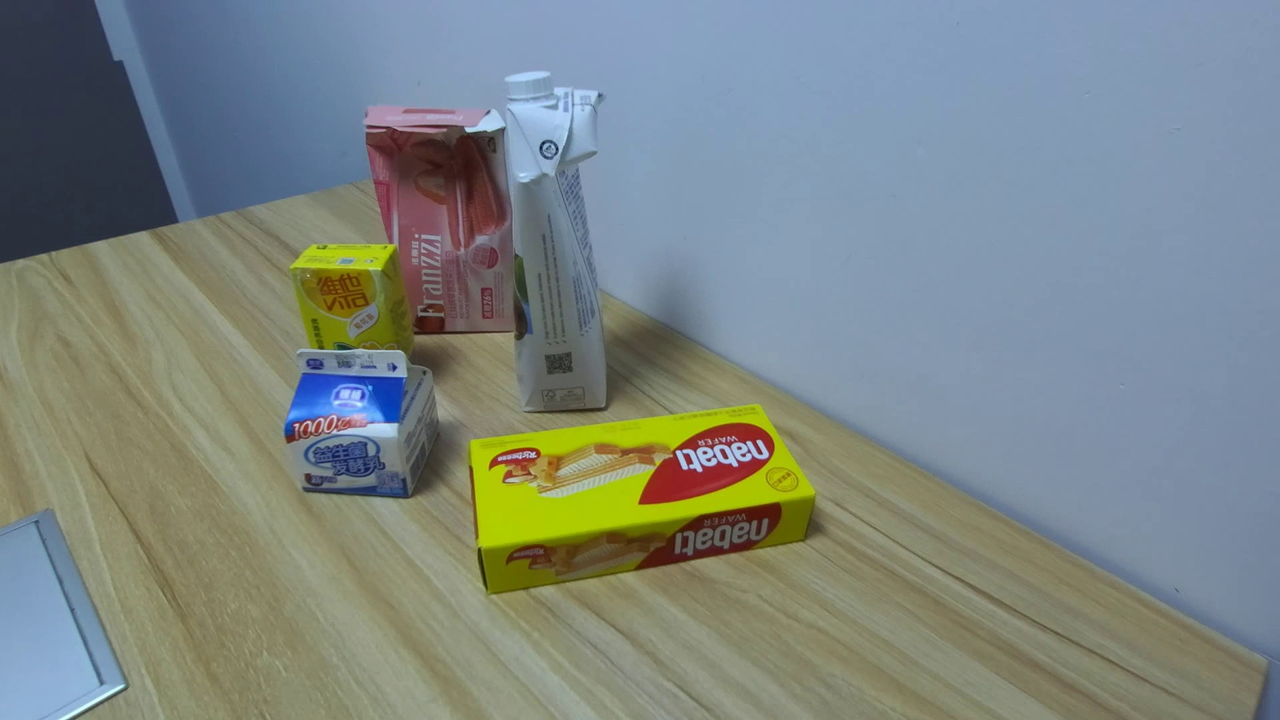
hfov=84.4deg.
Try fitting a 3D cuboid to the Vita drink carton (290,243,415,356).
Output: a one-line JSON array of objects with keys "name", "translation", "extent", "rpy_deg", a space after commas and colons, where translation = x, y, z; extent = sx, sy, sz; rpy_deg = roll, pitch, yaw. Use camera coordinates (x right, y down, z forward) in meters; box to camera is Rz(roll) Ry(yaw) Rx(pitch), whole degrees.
[{"name": "Vita drink carton", "translation": [-0.216, -0.030, 0.532], "extent": [0.076, 0.109, 0.043], "rpy_deg": [2, 34, -3]}]

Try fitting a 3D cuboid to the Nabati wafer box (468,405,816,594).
[{"name": "Nabati wafer box", "translation": [-0.001, 0.082, 0.448], "extent": [0.203, 0.042, 0.092], "rpy_deg": [-6, 35, -12]}]

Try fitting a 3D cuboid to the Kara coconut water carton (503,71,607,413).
[{"name": "Kara coconut water carton", "translation": [-0.057, -0.078, 0.498], "extent": [0.069, 0.239, 0.115], "rpy_deg": [-1, 34, -2]}]

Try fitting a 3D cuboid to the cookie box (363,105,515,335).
[{"name": "cookie box", "translation": [-0.162, -0.110, 0.589], "extent": [0.118, 0.184, 0.055], "rpy_deg": [0, 35, -5]}]

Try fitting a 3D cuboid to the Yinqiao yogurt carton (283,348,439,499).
[{"name": "Yinqiao yogurt carton", "translation": [-0.182, 0.031, 0.461], "extent": [0.075, 0.092, 0.073], "rpy_deg": [2, 35, 0]}]
